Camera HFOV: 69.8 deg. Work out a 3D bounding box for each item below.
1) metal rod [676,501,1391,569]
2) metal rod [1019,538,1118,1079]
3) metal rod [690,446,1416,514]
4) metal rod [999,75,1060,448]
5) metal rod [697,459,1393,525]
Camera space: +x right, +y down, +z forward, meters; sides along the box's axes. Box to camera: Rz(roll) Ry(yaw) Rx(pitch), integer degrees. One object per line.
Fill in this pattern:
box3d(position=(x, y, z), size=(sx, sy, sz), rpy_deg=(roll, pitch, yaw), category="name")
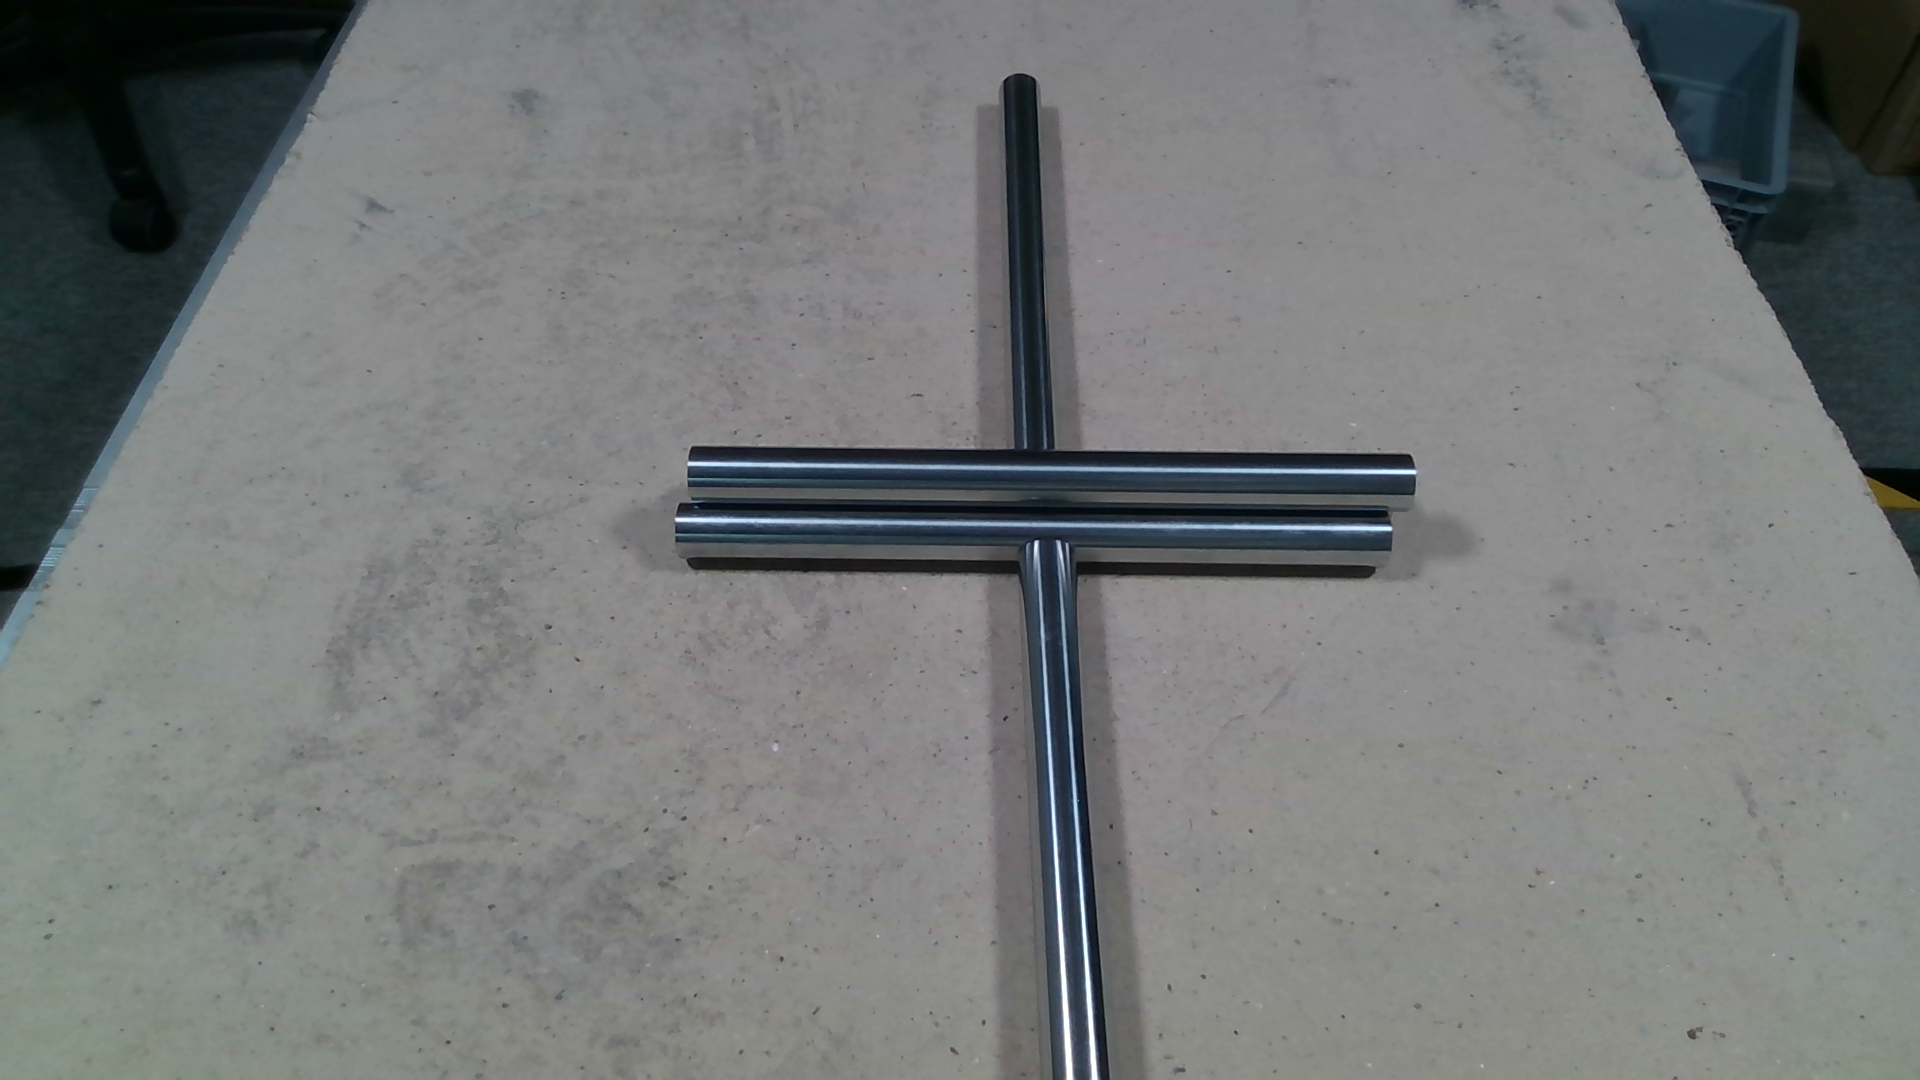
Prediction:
box3d(position=(0.030, -0.002, 0.590), size=(0.300, 0.025, 0.025), rpy_deg=(1, 50, 1), category="metal rod")
box3d(position=(0.038, 0.122, 0.485), size=(0.025, 0.025, 0.299), rpy_deg=(0, 50, 0), category="metal rod")
box3d(position=(0.038, -0.026, 0.582), size=(0.300, 0.025, 0.025), rpy_deg=(1, 50, 1), category="metal rod")
box3d(position=(0.034, -0.146, 0.709), size=(0.025, 0.025, 0.299), rpy_deg=(0, 50, 0), category="metal rod")
box3d(position=(0.036, -0.021, 0.606), size=(0.300, 0.025, 0.025), rpy_deg=(1, 50, 1), category="metal rod")
